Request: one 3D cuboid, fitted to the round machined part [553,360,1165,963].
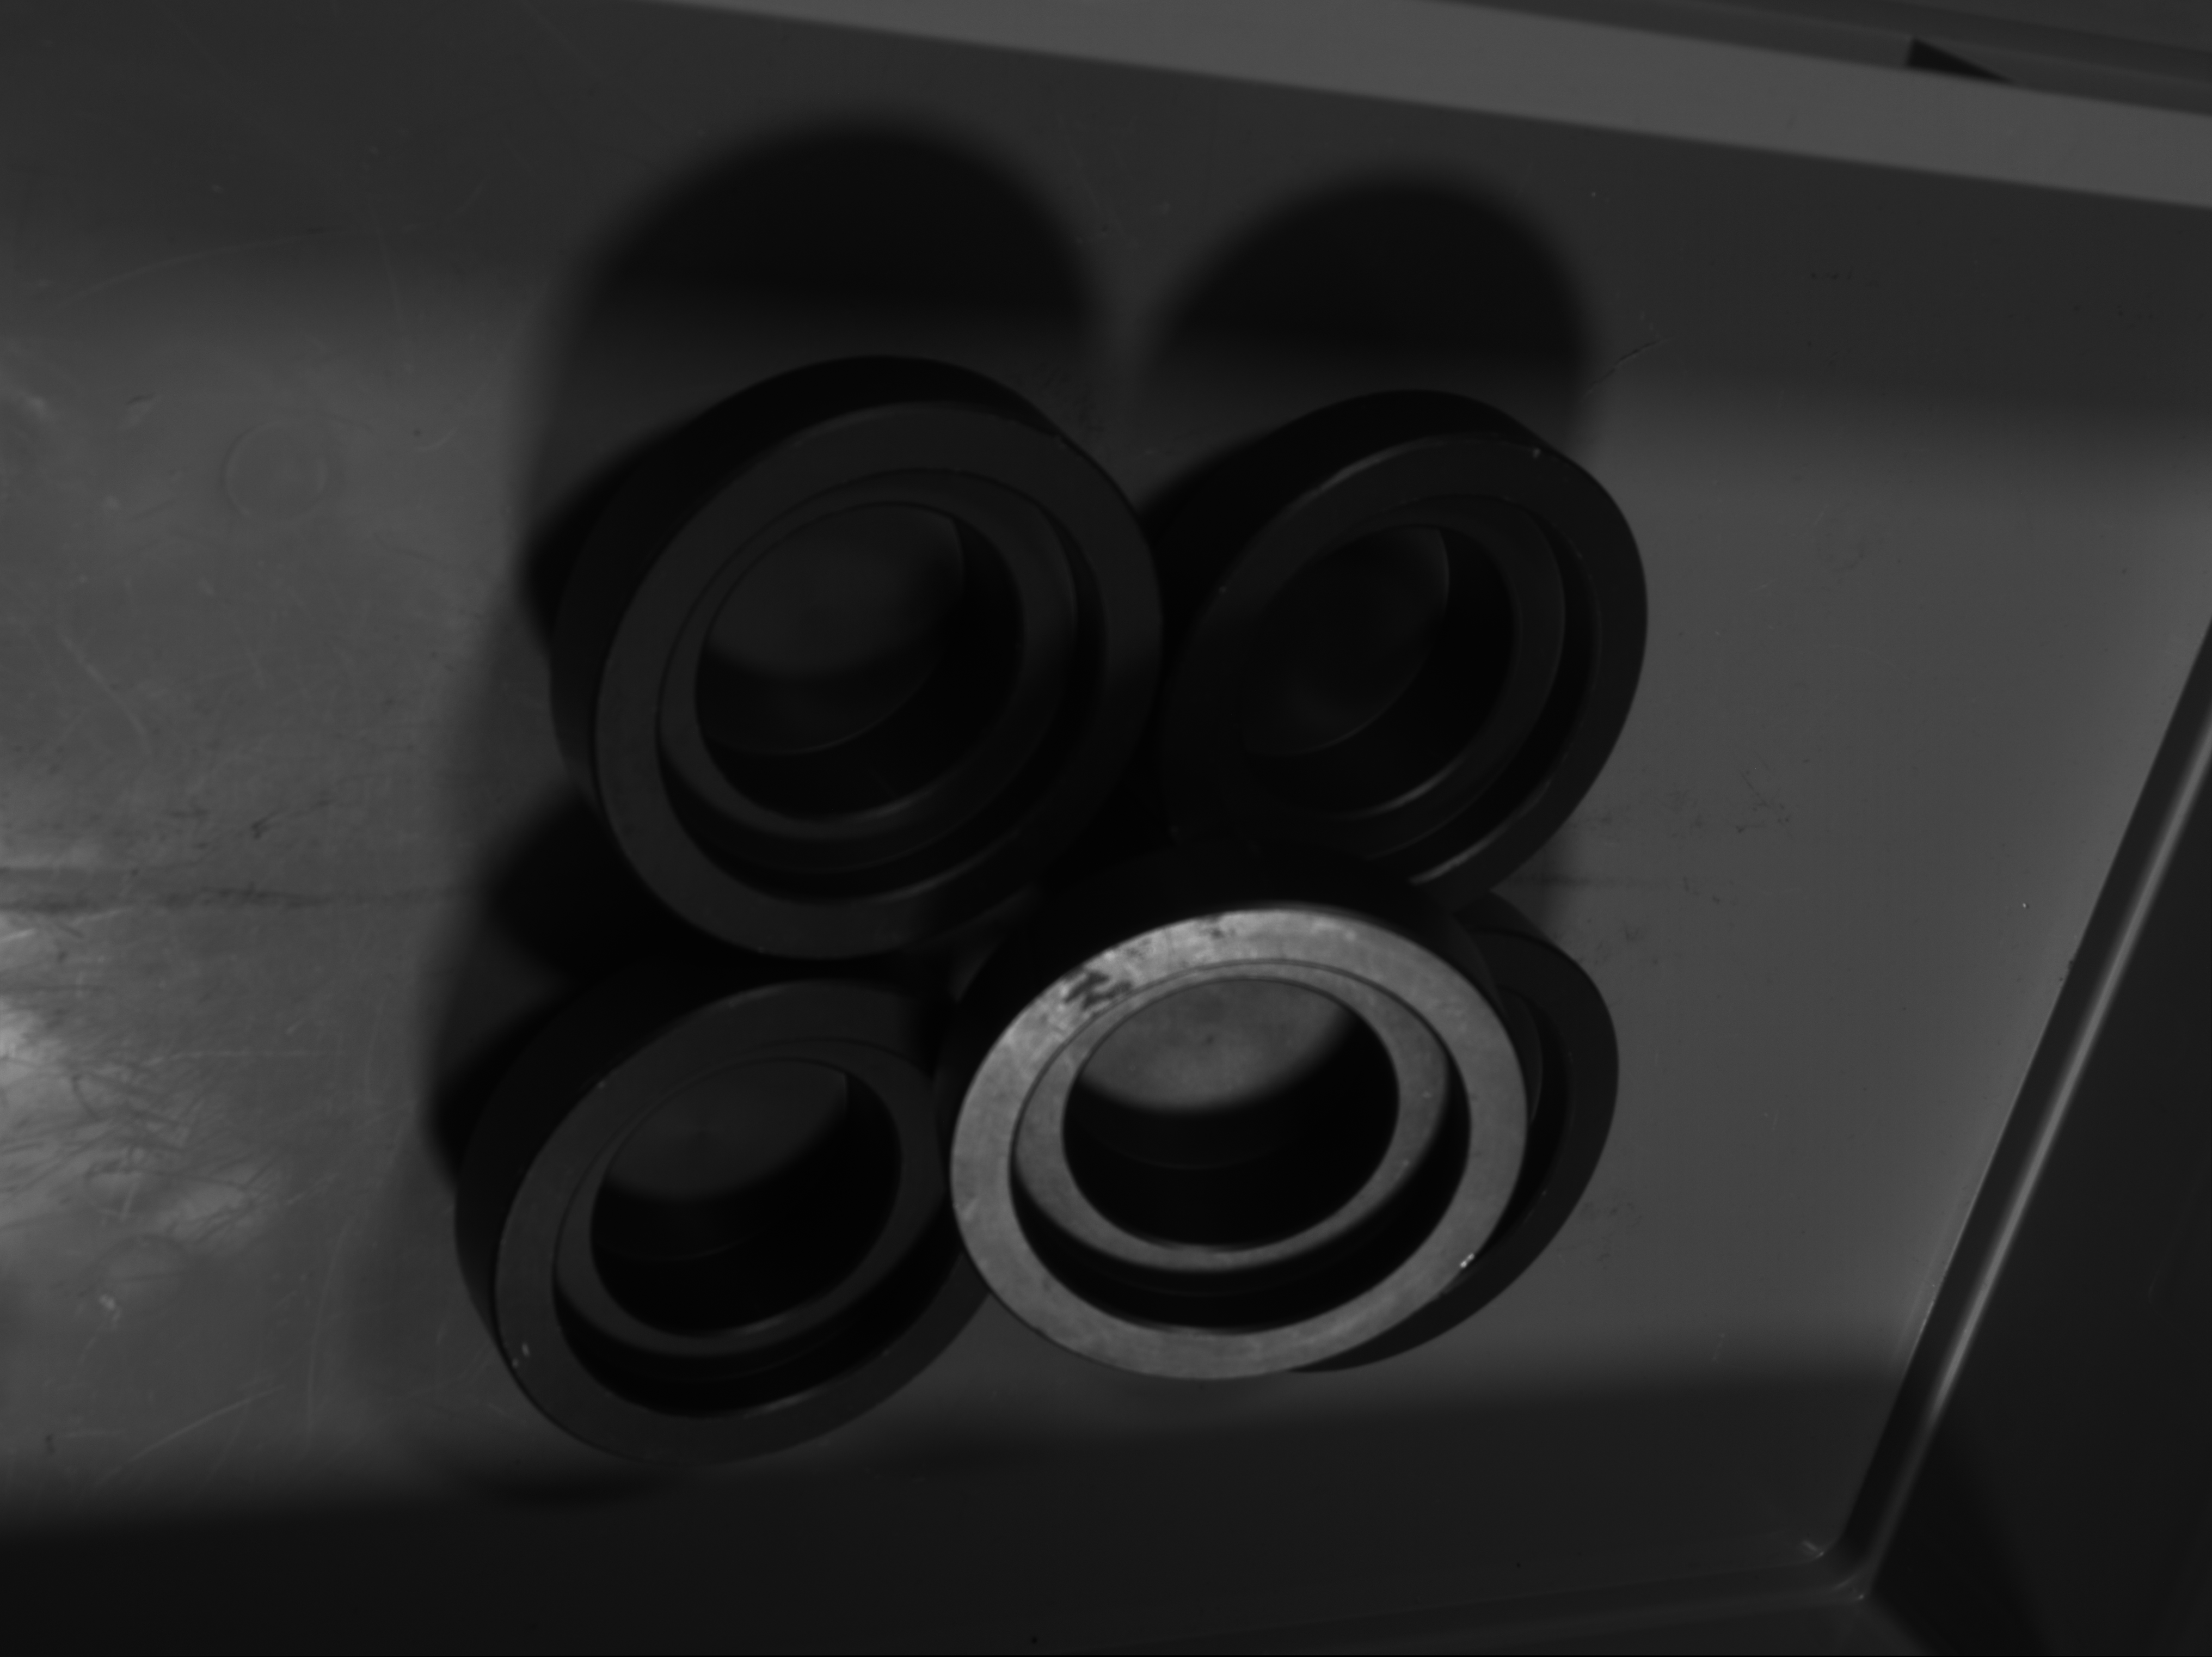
[{"bbox_3d":[-0.043,-0.031,0.594,0.098,0.042,0.098,-15,125,-22],"label":"round machined part"}]

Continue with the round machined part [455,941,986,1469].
[{"bbox_3d":[-0.066,0.059,0.636,0.098,0.042,0.098,-15,125,-22],"label":"round machined part"}]

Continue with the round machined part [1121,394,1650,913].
[{"bbox_3d":[0.043,-0.031,0.644,0.098,0.042,0.098,-15,125,-22],"label":"round machined part"}]

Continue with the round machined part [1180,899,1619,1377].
[{"bbox_3d":[0.045,0.052,0.697,0.098,0.042,0.098,-15,125,-22],"label":"round machined part"}]

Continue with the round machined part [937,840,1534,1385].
[{"bbox_3d":[0.020,0.043,0.621,0.098,0.042,0.098,-4,122,-6],"label":"round machined part"}]
